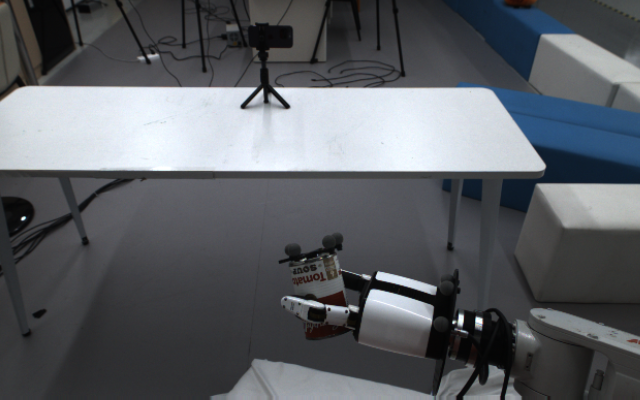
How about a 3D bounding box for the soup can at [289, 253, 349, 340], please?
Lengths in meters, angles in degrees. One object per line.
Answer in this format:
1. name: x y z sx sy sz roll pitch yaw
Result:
1. soup can: 0.003 0.125 0.640 0.067 0.101 0.067 -14 -2 -1
